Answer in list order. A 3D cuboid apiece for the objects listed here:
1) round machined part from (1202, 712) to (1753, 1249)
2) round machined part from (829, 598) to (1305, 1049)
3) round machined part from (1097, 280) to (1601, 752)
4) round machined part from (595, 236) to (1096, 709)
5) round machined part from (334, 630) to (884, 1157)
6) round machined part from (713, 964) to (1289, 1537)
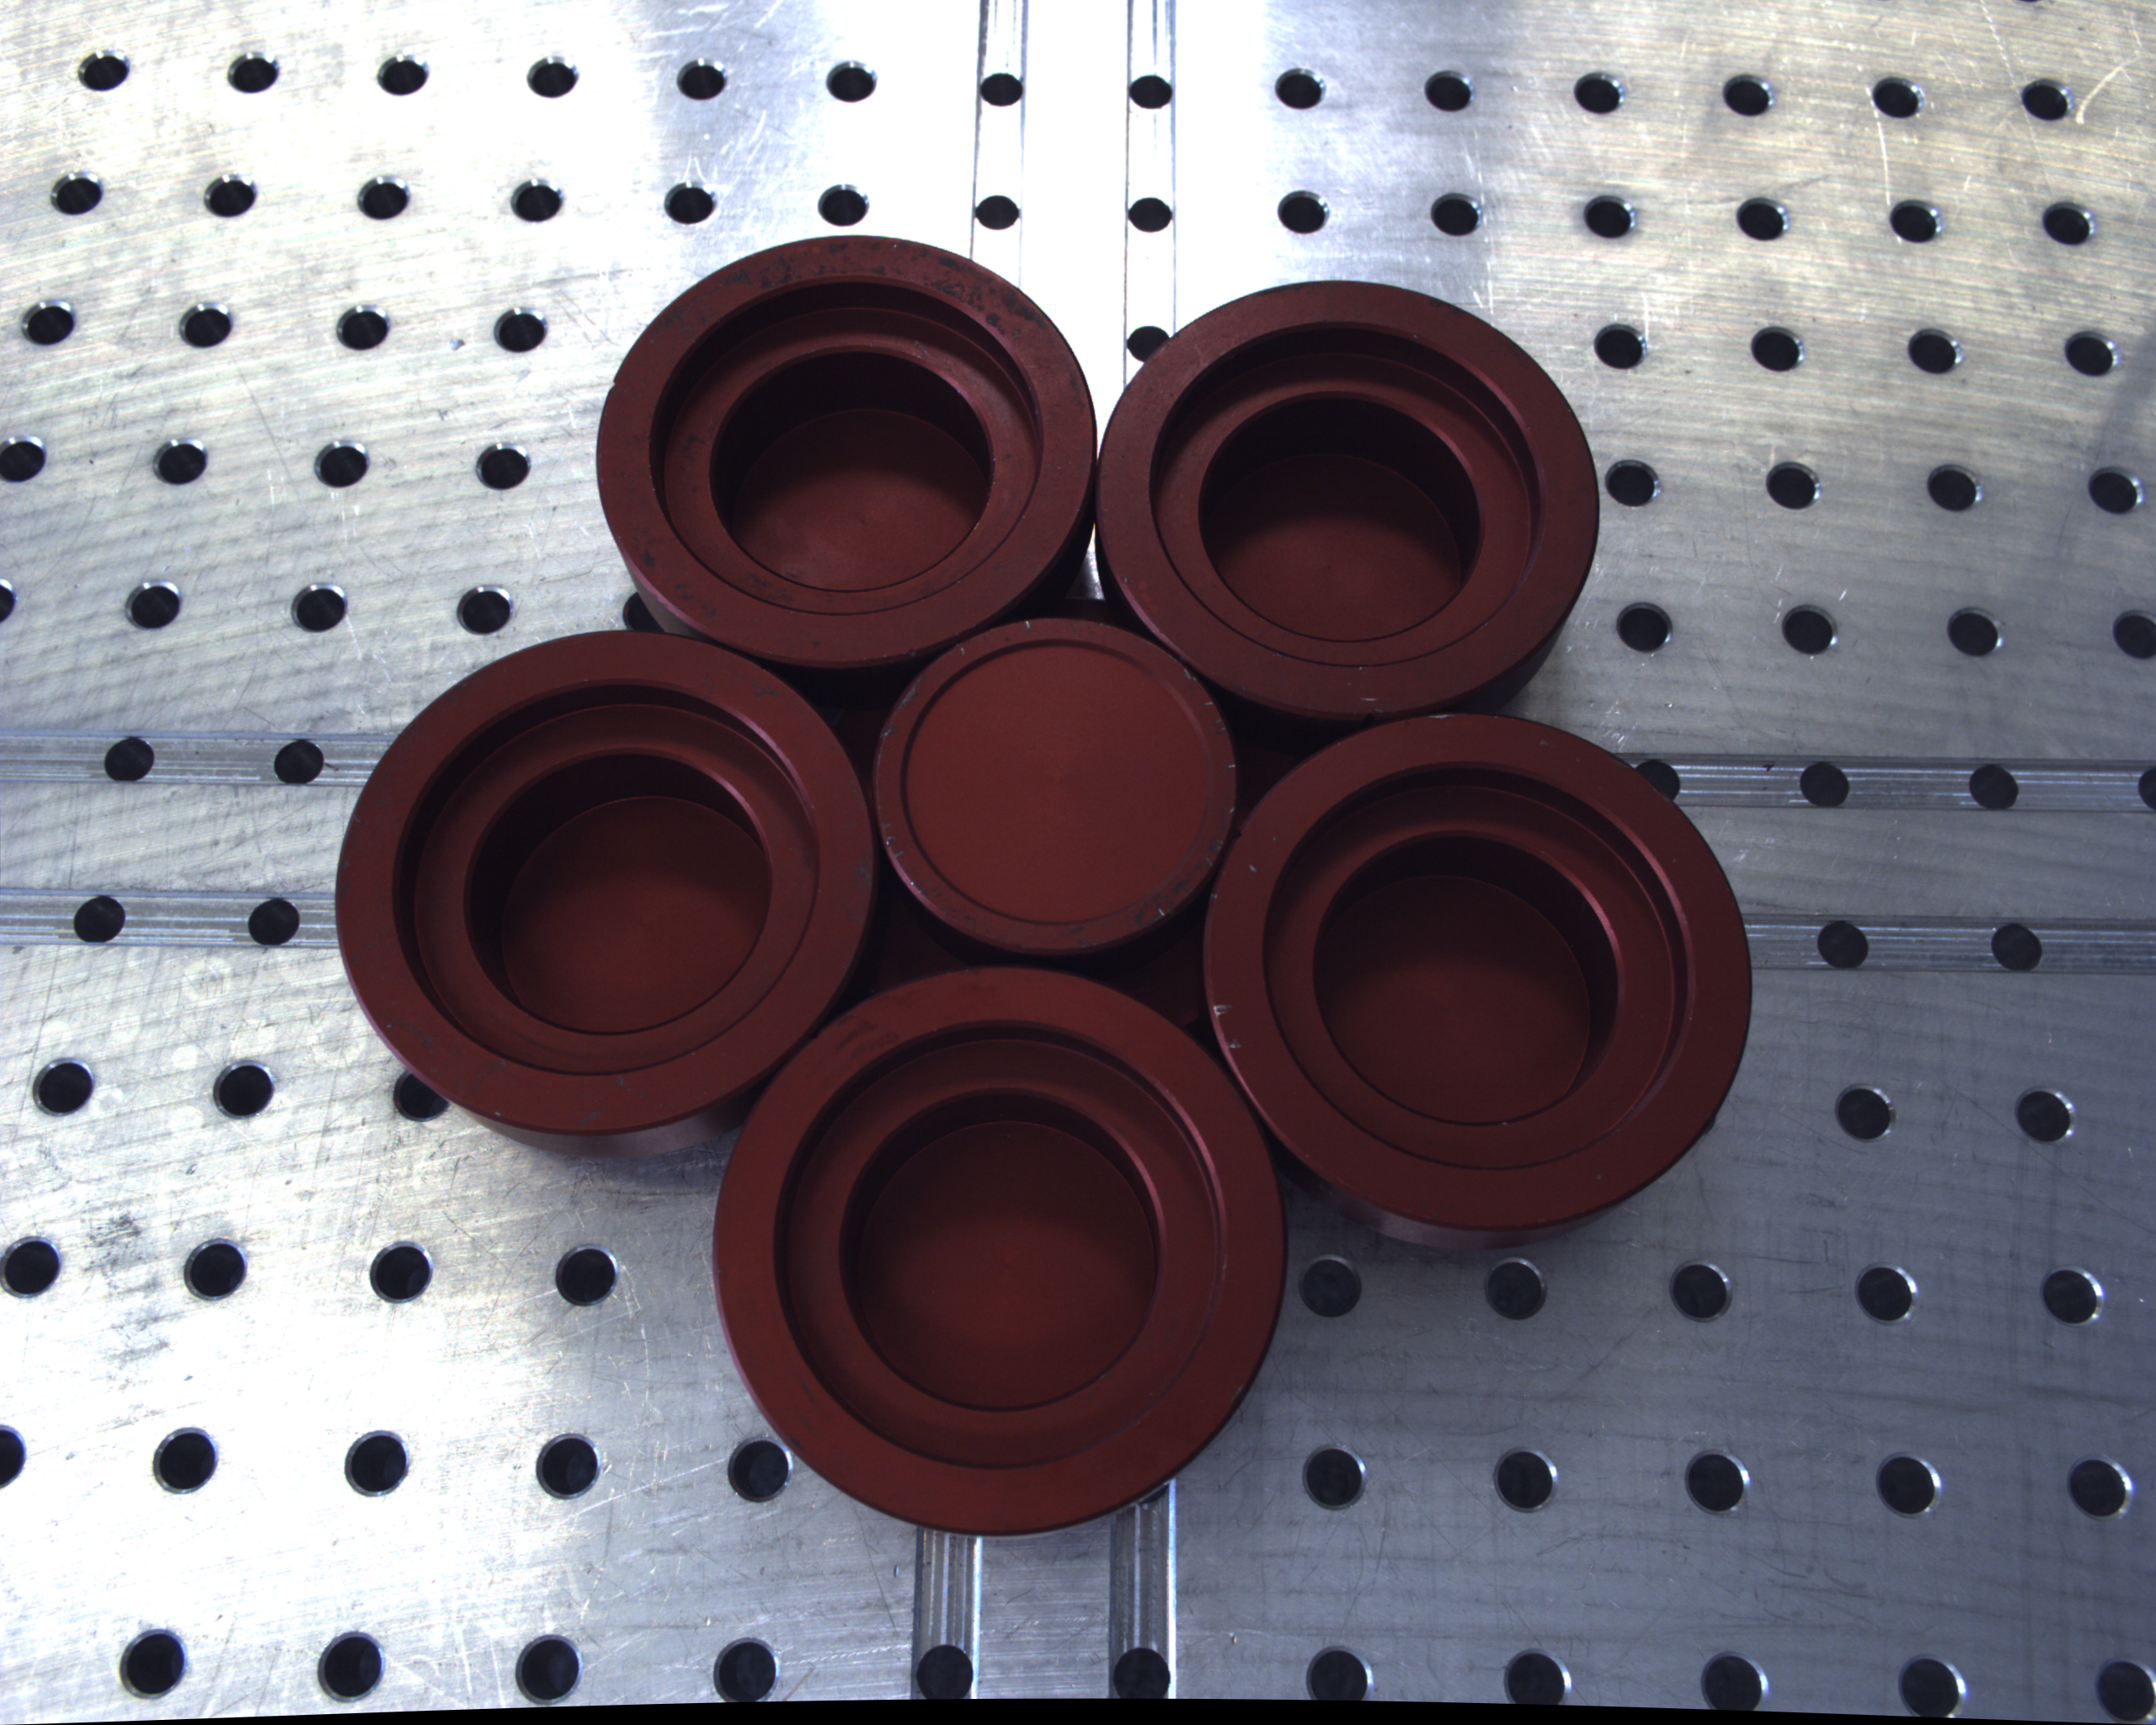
[{"bbox_3d":[0.072,0.024,0.394,0.099,0.042,0.098,0,70,0],"label":"round machined part"},{"bbox_3d":[-0.004,-0.008,0.405,0.099,0.042,0.098,0,70,0],"label":"round machined part"},{"bbox_3d":[0.053,-0.066,0.427,0.099,0.042,0.098,0,70,0],"label":"round machined part"},{"bbox_3d":[-0.046,-0.076,0.430,0.099,0.042,0.098,0,70,0],"label":"round machined part"},{"bbox_3d":[-0.086,0.008,0.399,0.099,0.042,0.098,0,70,0],"label":"round machined part"},{"bbox_3d":[-0.013,0.071,0.376,0.099,0.042,0.098,0,70,0],"label":"round machined part"}]
